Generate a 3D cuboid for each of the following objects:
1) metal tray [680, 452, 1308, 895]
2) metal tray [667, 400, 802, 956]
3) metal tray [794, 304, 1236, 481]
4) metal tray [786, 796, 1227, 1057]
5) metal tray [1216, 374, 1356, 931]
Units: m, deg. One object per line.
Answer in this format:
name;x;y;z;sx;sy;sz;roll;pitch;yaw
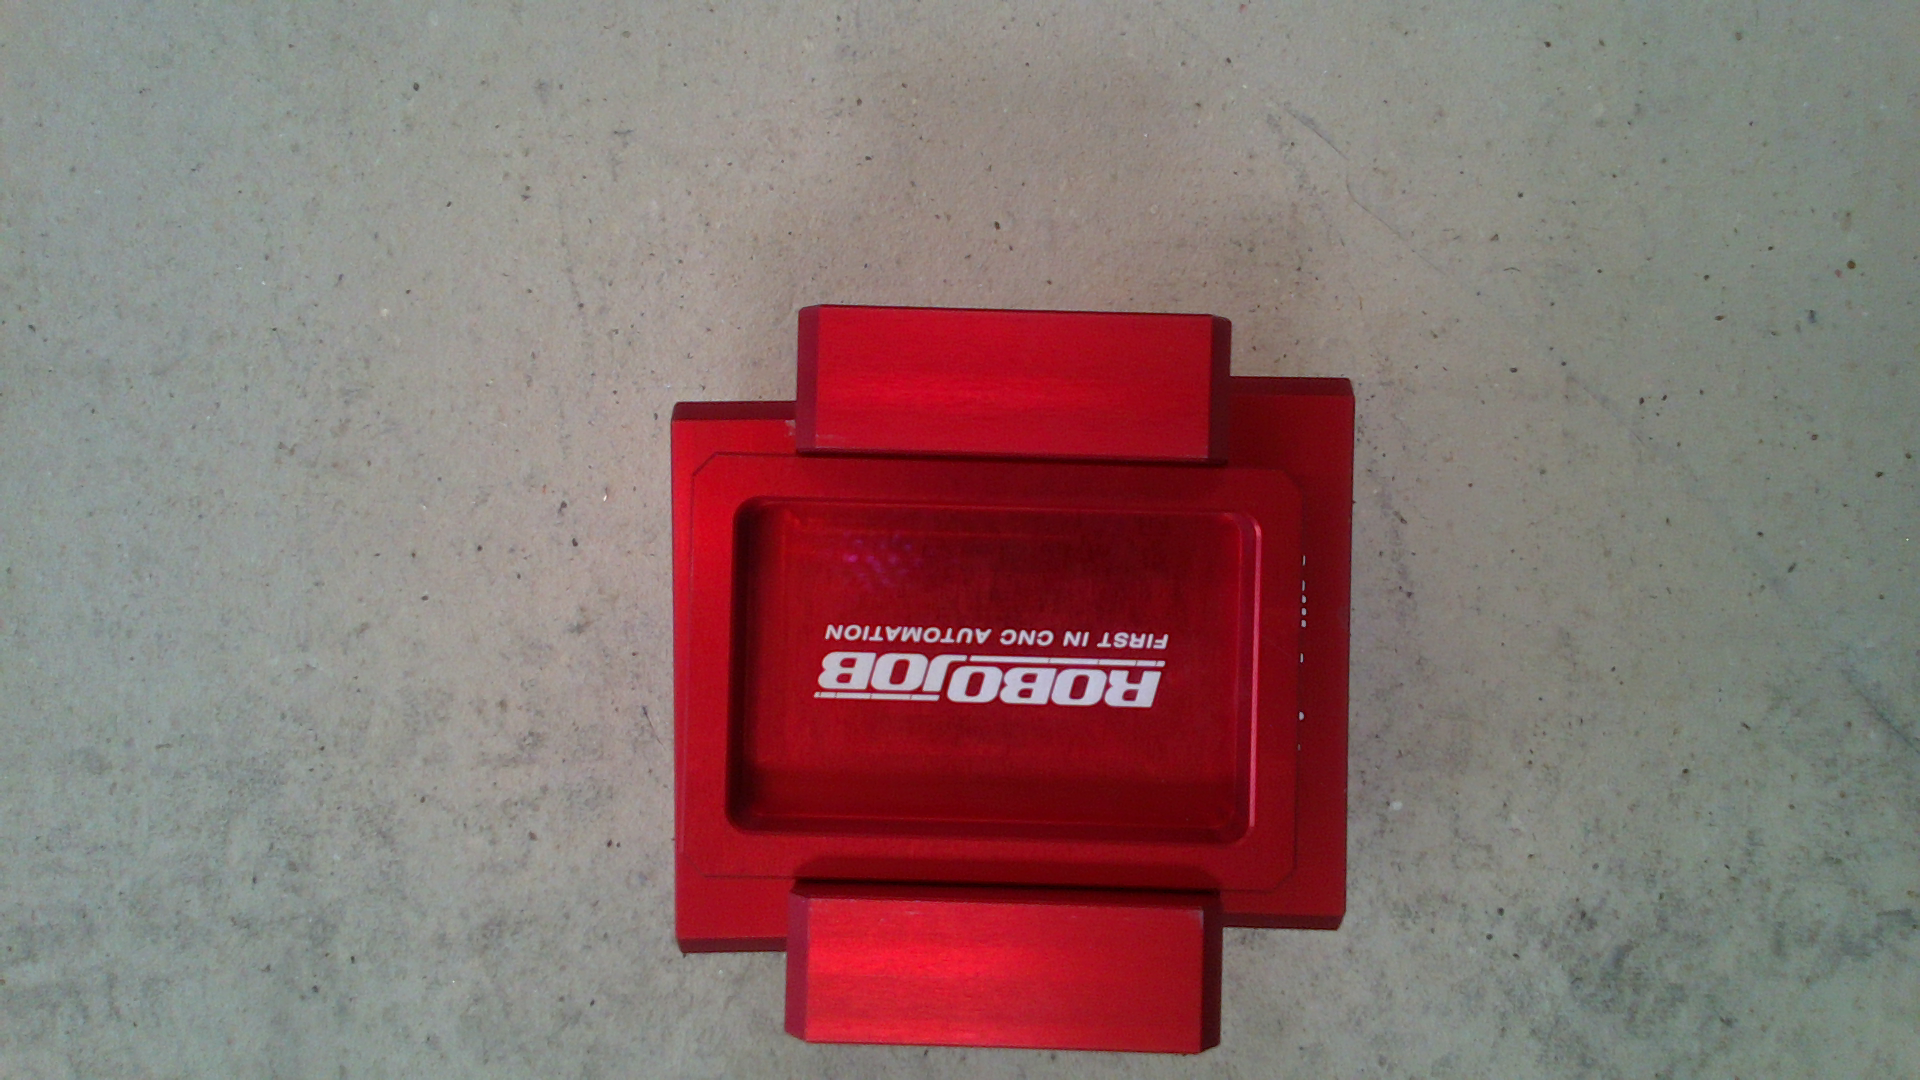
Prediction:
metal tray;0.007;0.028;0.303;0.130;0.030;0.090;2;91;0
metal tray;-0.052;0.032;0.363;0.030;0.090;0.130;-1;90;0
metal tray;0.011;-0.032;0.342;0.090;0.130;0.030;2;90;0
metal tray;0.010;0.088;0.343;0.090;0.130;0.030;1;91;0
metal tray;0.076;0.027;0.363;0.030;0.090;0.130;1;89;1
